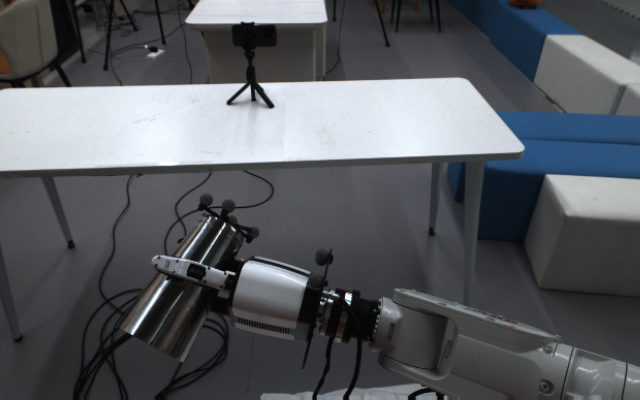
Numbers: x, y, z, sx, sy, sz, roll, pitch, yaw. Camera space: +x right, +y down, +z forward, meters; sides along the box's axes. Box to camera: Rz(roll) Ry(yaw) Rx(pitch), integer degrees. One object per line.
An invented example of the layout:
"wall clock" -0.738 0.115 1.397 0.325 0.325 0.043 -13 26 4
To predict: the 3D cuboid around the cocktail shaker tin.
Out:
"cocktail shaker tin" -0.166 0.105 0.617 0.093 0.093 0.170 18 66 21
